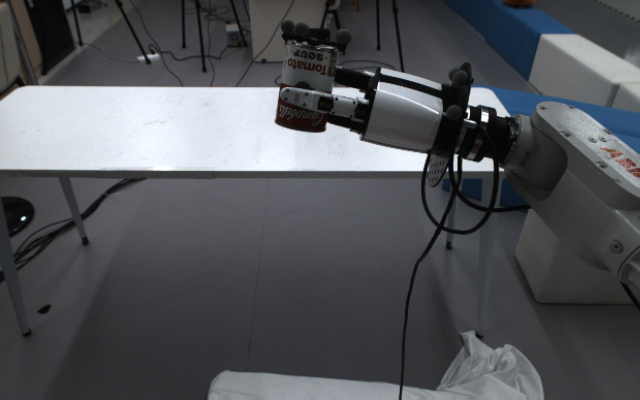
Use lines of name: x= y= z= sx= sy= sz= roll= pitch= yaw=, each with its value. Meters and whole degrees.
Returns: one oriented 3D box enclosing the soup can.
soup can: x=-0.017 y=-0.144 z=0.611 sx=0.067 sy=0.101 sz=0.067 roll=9 pitch=20 yaw=-3
